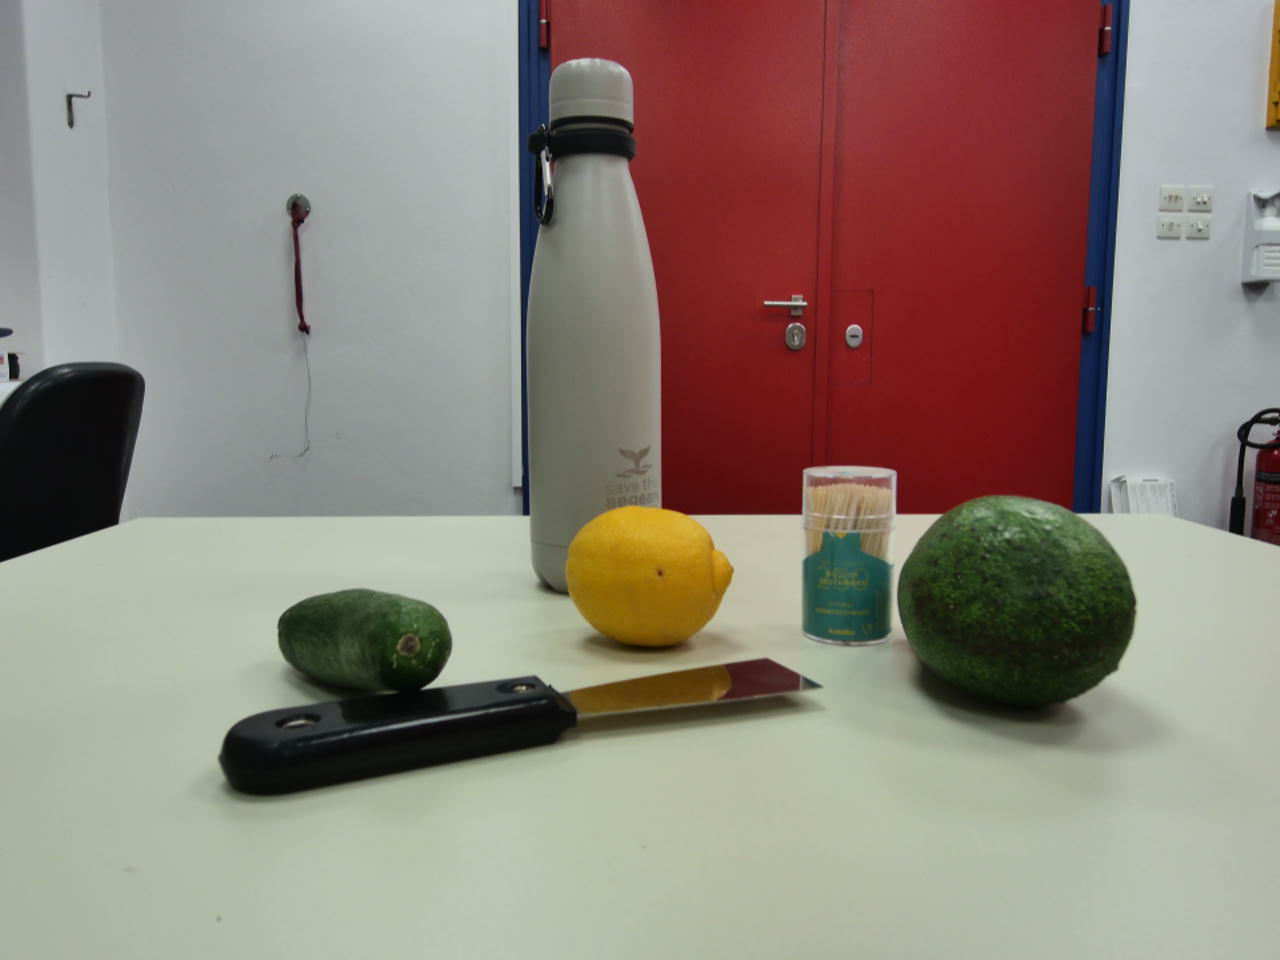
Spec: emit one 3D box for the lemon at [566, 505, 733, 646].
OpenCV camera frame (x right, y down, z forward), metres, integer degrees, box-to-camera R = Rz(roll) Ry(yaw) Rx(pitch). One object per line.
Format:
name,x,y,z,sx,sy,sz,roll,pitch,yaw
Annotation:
lemon,0.002,0.041,0.430,0.067,0.059,0.060,4,5,41
